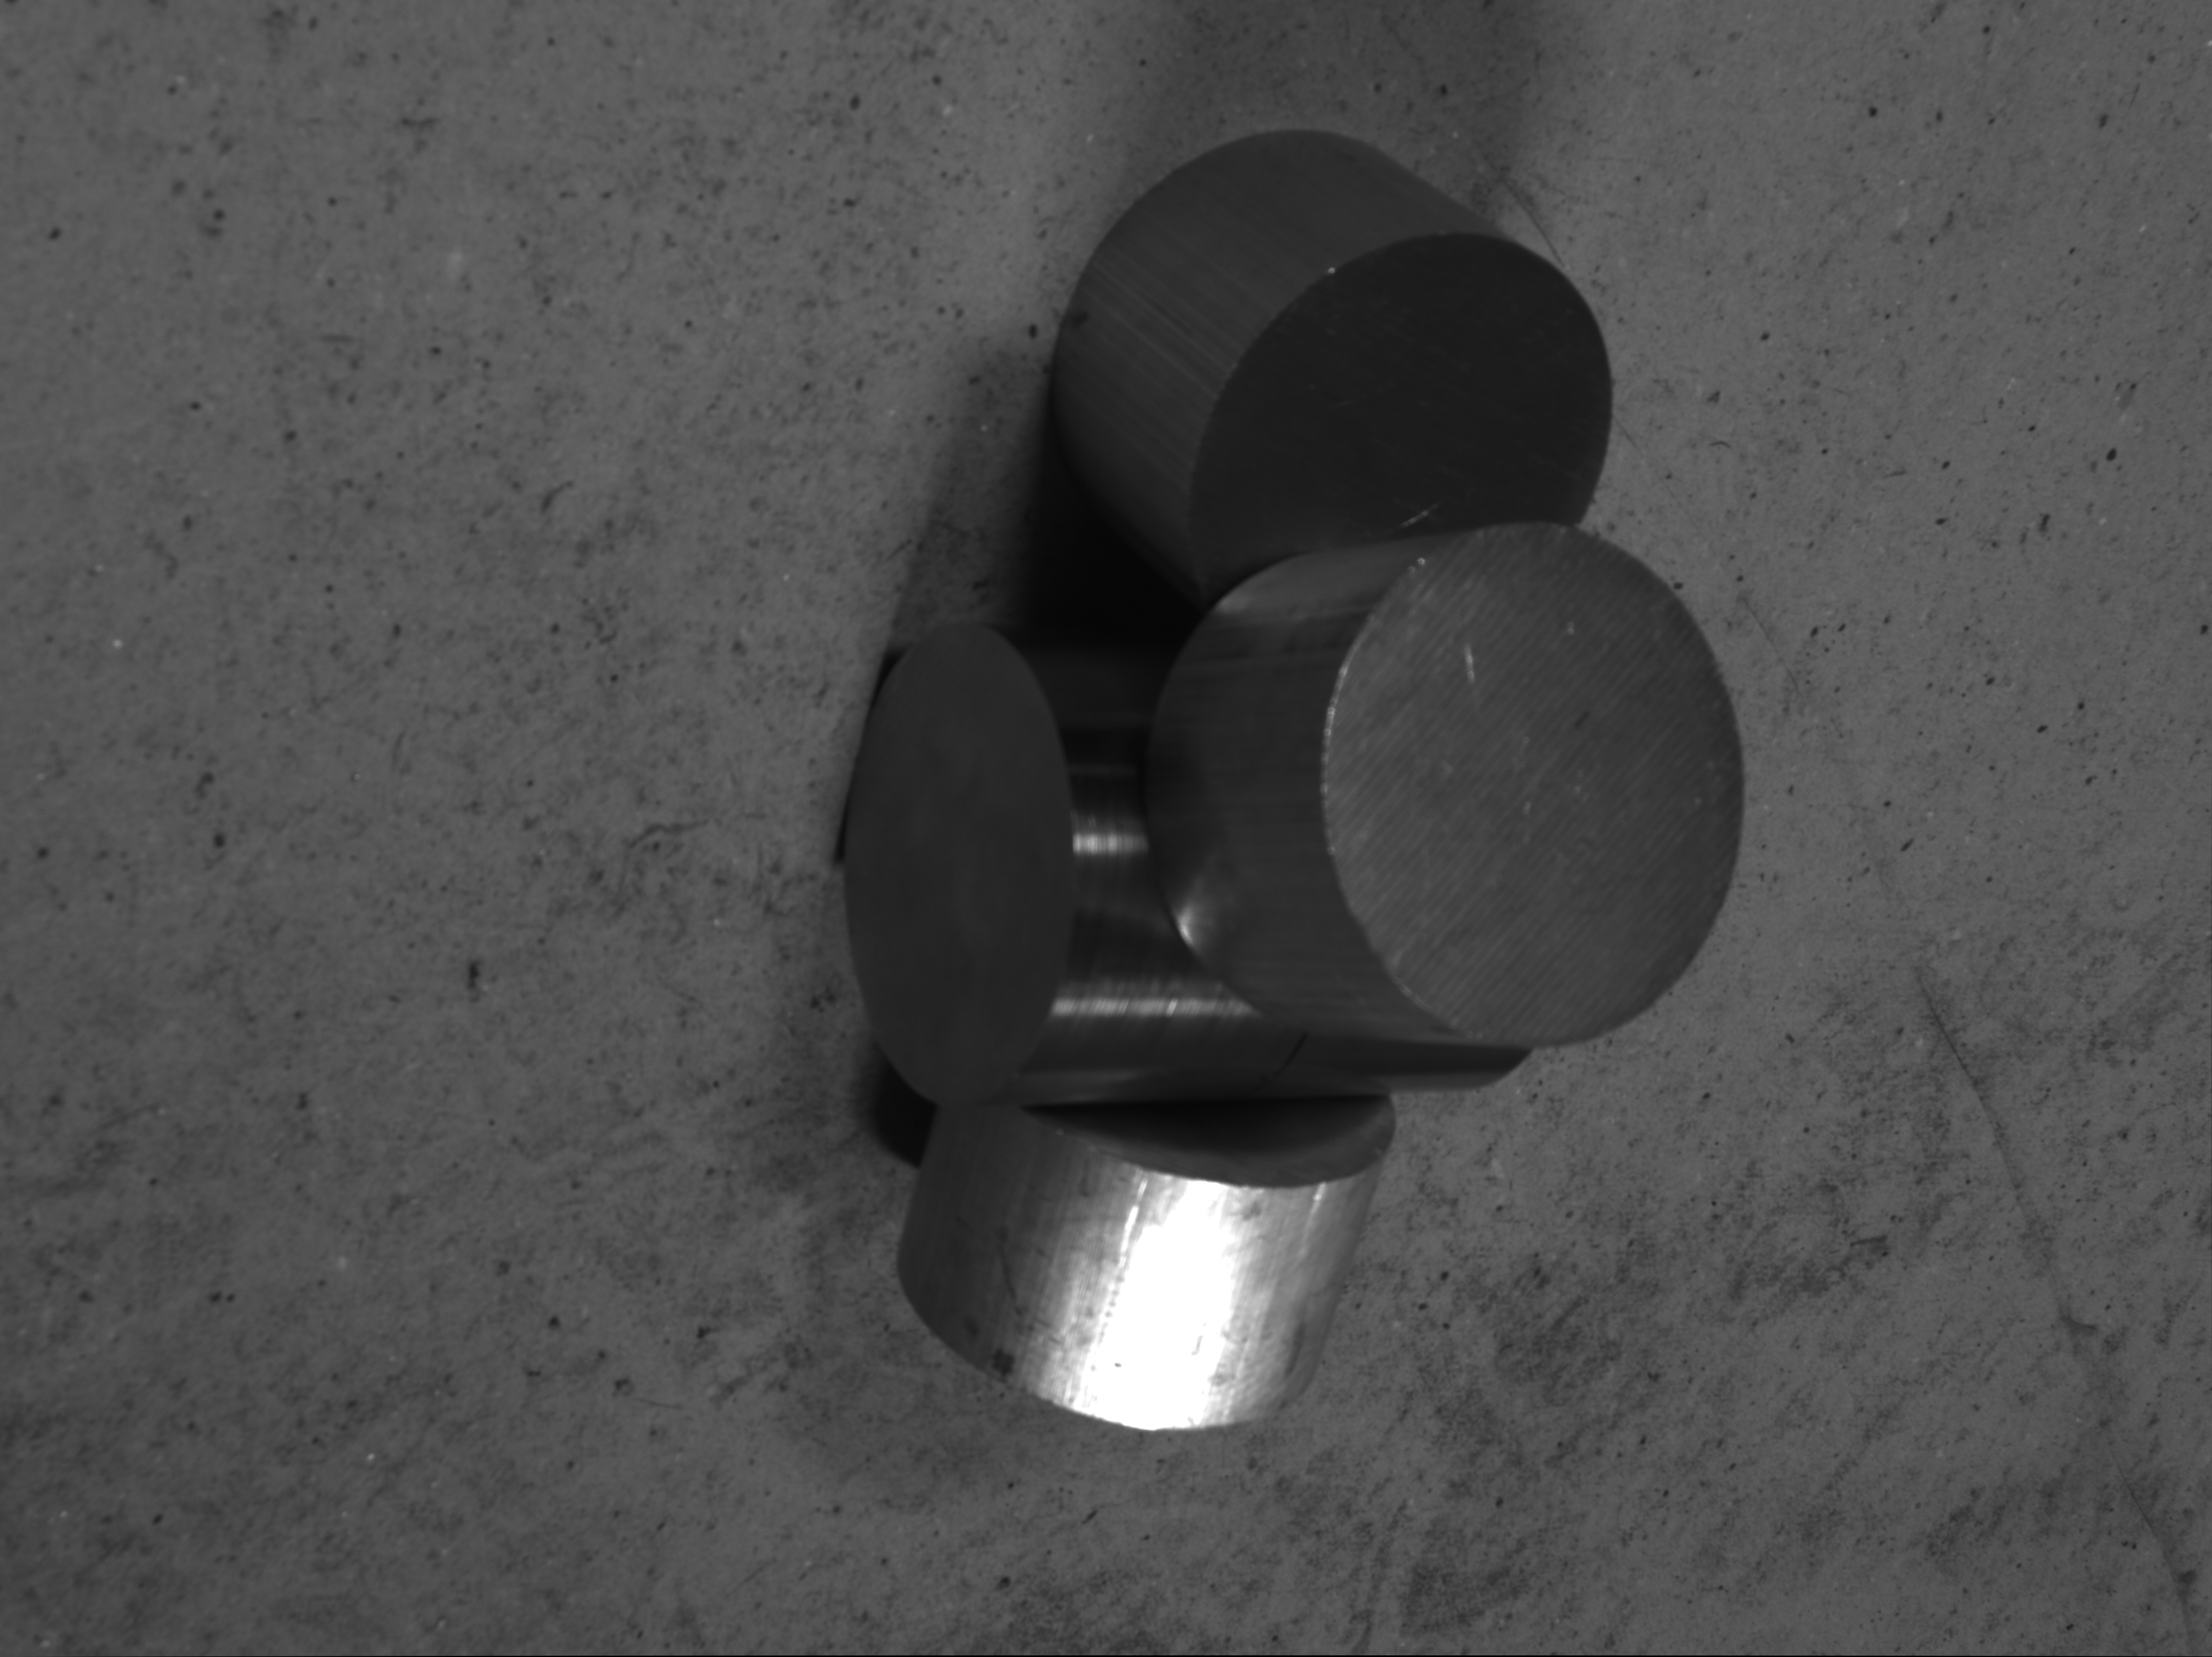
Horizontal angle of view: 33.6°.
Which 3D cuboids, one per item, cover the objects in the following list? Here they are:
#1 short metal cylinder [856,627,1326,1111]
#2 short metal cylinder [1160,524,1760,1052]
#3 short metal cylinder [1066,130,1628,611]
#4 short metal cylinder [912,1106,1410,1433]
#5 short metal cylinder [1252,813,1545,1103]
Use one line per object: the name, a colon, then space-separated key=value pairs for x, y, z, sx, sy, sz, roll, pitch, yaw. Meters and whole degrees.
short metal cylinder: x=-0.002 y=0.007 z=0.619 sx=0.050 sy=0.080 sz=0.080 roll=1 pitch=118 yaw=-31
short metal cylinder: x=0.056 y=-0.006 z=0.577 sx=0.080 sy=0.050 sz=0.080 roll=0 pitch=89 yaw=-31
short metal cylinder: x=0.040 y=-0.071 z=0.615 sx=0.080 sy=0.050 sz=0.080 roll=-15 pitch=125 yaw=-22
short metal cylinder: x=0.010 y=0.065 z=0.661 sx=0.080 sy=0.080 sz=0.050 roll=0 pitch=118 yaw=-30
short metal cylinder: x=0.044 y=0.008 z=0.645 sx=0.050 sy=0.080 sz=0.080 roll=1 pitch=118 yaw=-30
